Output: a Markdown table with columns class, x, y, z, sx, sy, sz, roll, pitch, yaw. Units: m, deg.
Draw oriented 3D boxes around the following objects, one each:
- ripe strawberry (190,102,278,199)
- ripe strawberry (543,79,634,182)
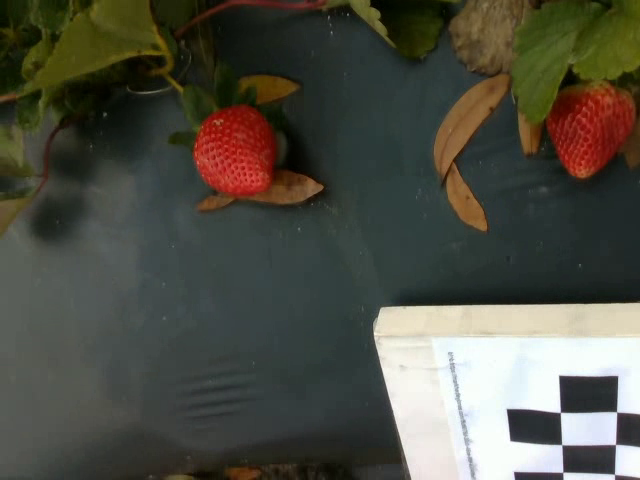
| class | x | y | z | sx | sy | sz | roll | pitch | yaw |
| --- | --- | --- | --- | --- | --- | --- | --- | --- | --- |
| ripe strawberry | -0.036 | -0.037 | 0.289 | 0.042 | 0.047 | 0.065 | -22 | 37 | -16 |
| ripe strawberry | 0.111 | -0.040 | 0.245 | 0.040 | 0.042 | 0.037 | 5 | -13 | 12 |
